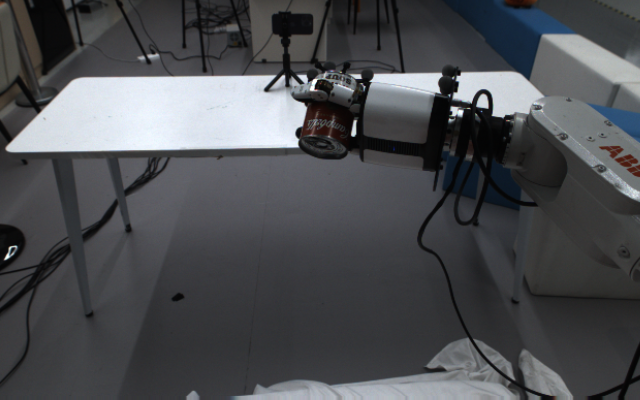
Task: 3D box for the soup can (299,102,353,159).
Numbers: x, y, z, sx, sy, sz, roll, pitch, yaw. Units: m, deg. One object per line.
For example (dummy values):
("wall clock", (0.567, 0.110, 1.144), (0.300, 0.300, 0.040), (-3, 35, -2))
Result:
("soup can", (0.015, -0.114, 0.654), (0.067, 0.067, 0.101), (9, 71, 9))
